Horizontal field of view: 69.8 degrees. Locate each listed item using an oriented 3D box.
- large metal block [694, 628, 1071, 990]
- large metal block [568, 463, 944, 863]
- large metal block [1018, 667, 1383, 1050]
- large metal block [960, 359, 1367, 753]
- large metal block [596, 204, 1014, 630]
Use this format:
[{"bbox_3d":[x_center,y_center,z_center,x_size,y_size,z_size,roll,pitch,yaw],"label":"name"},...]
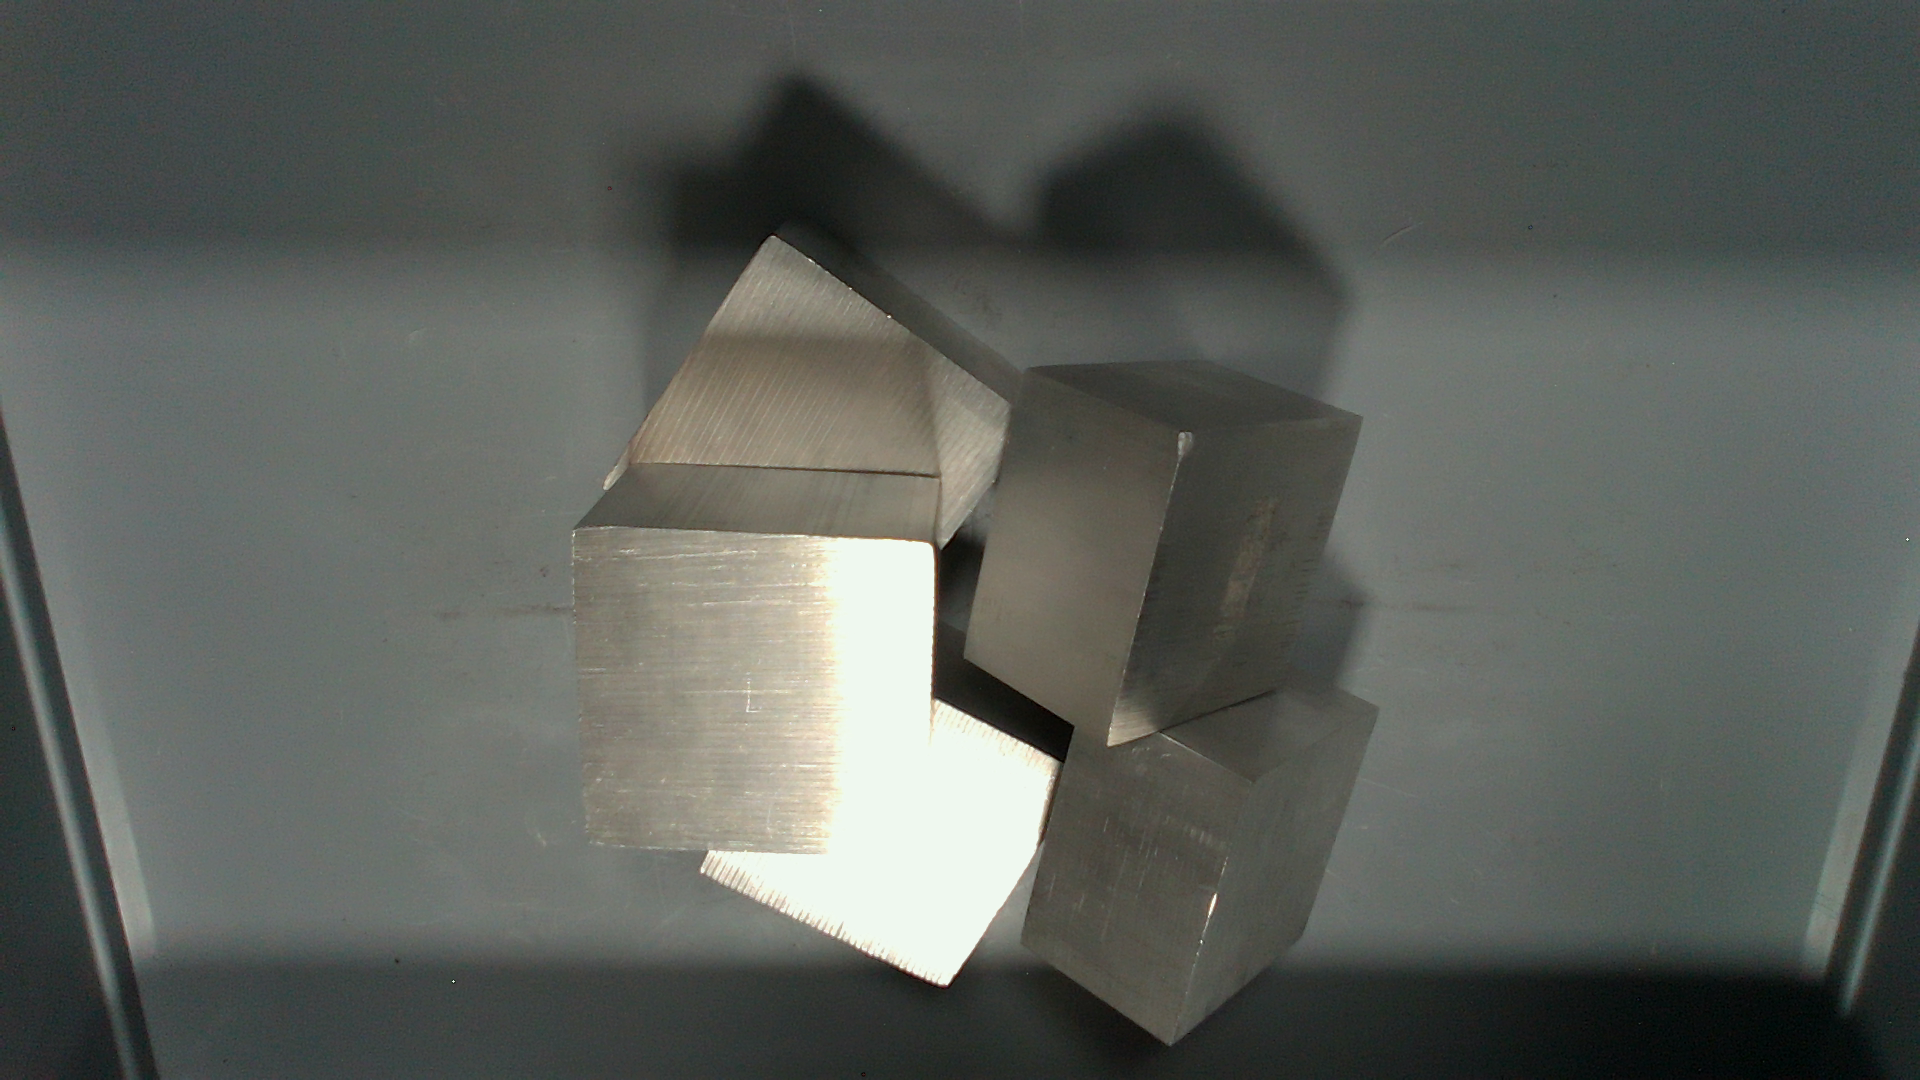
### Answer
[{"bbox_3d":[-0.019,0.070,0.402,0.080,0.050,0.080,28,108,-10],"label":"large metal block"},{"bbox_3d":[-0.046,0.028,0.335,0.080,0.050,0.080,3,109,0],"label":"large metal block"},{"bbox_3d":[0.068,0.080,0.386,0.050,0.080,0.080,26,113,33],"label":"large metal block"},{"bbox_3d":[0.053,0.000,0.357,0.080,0.050,0.080,-9,119,-45],"label":"large metal block"},{"bbox_3d":[-0.036,-0.030,0.369,0.080,0.050,0.080,34,107,-12],"label":"large metal block"}]
